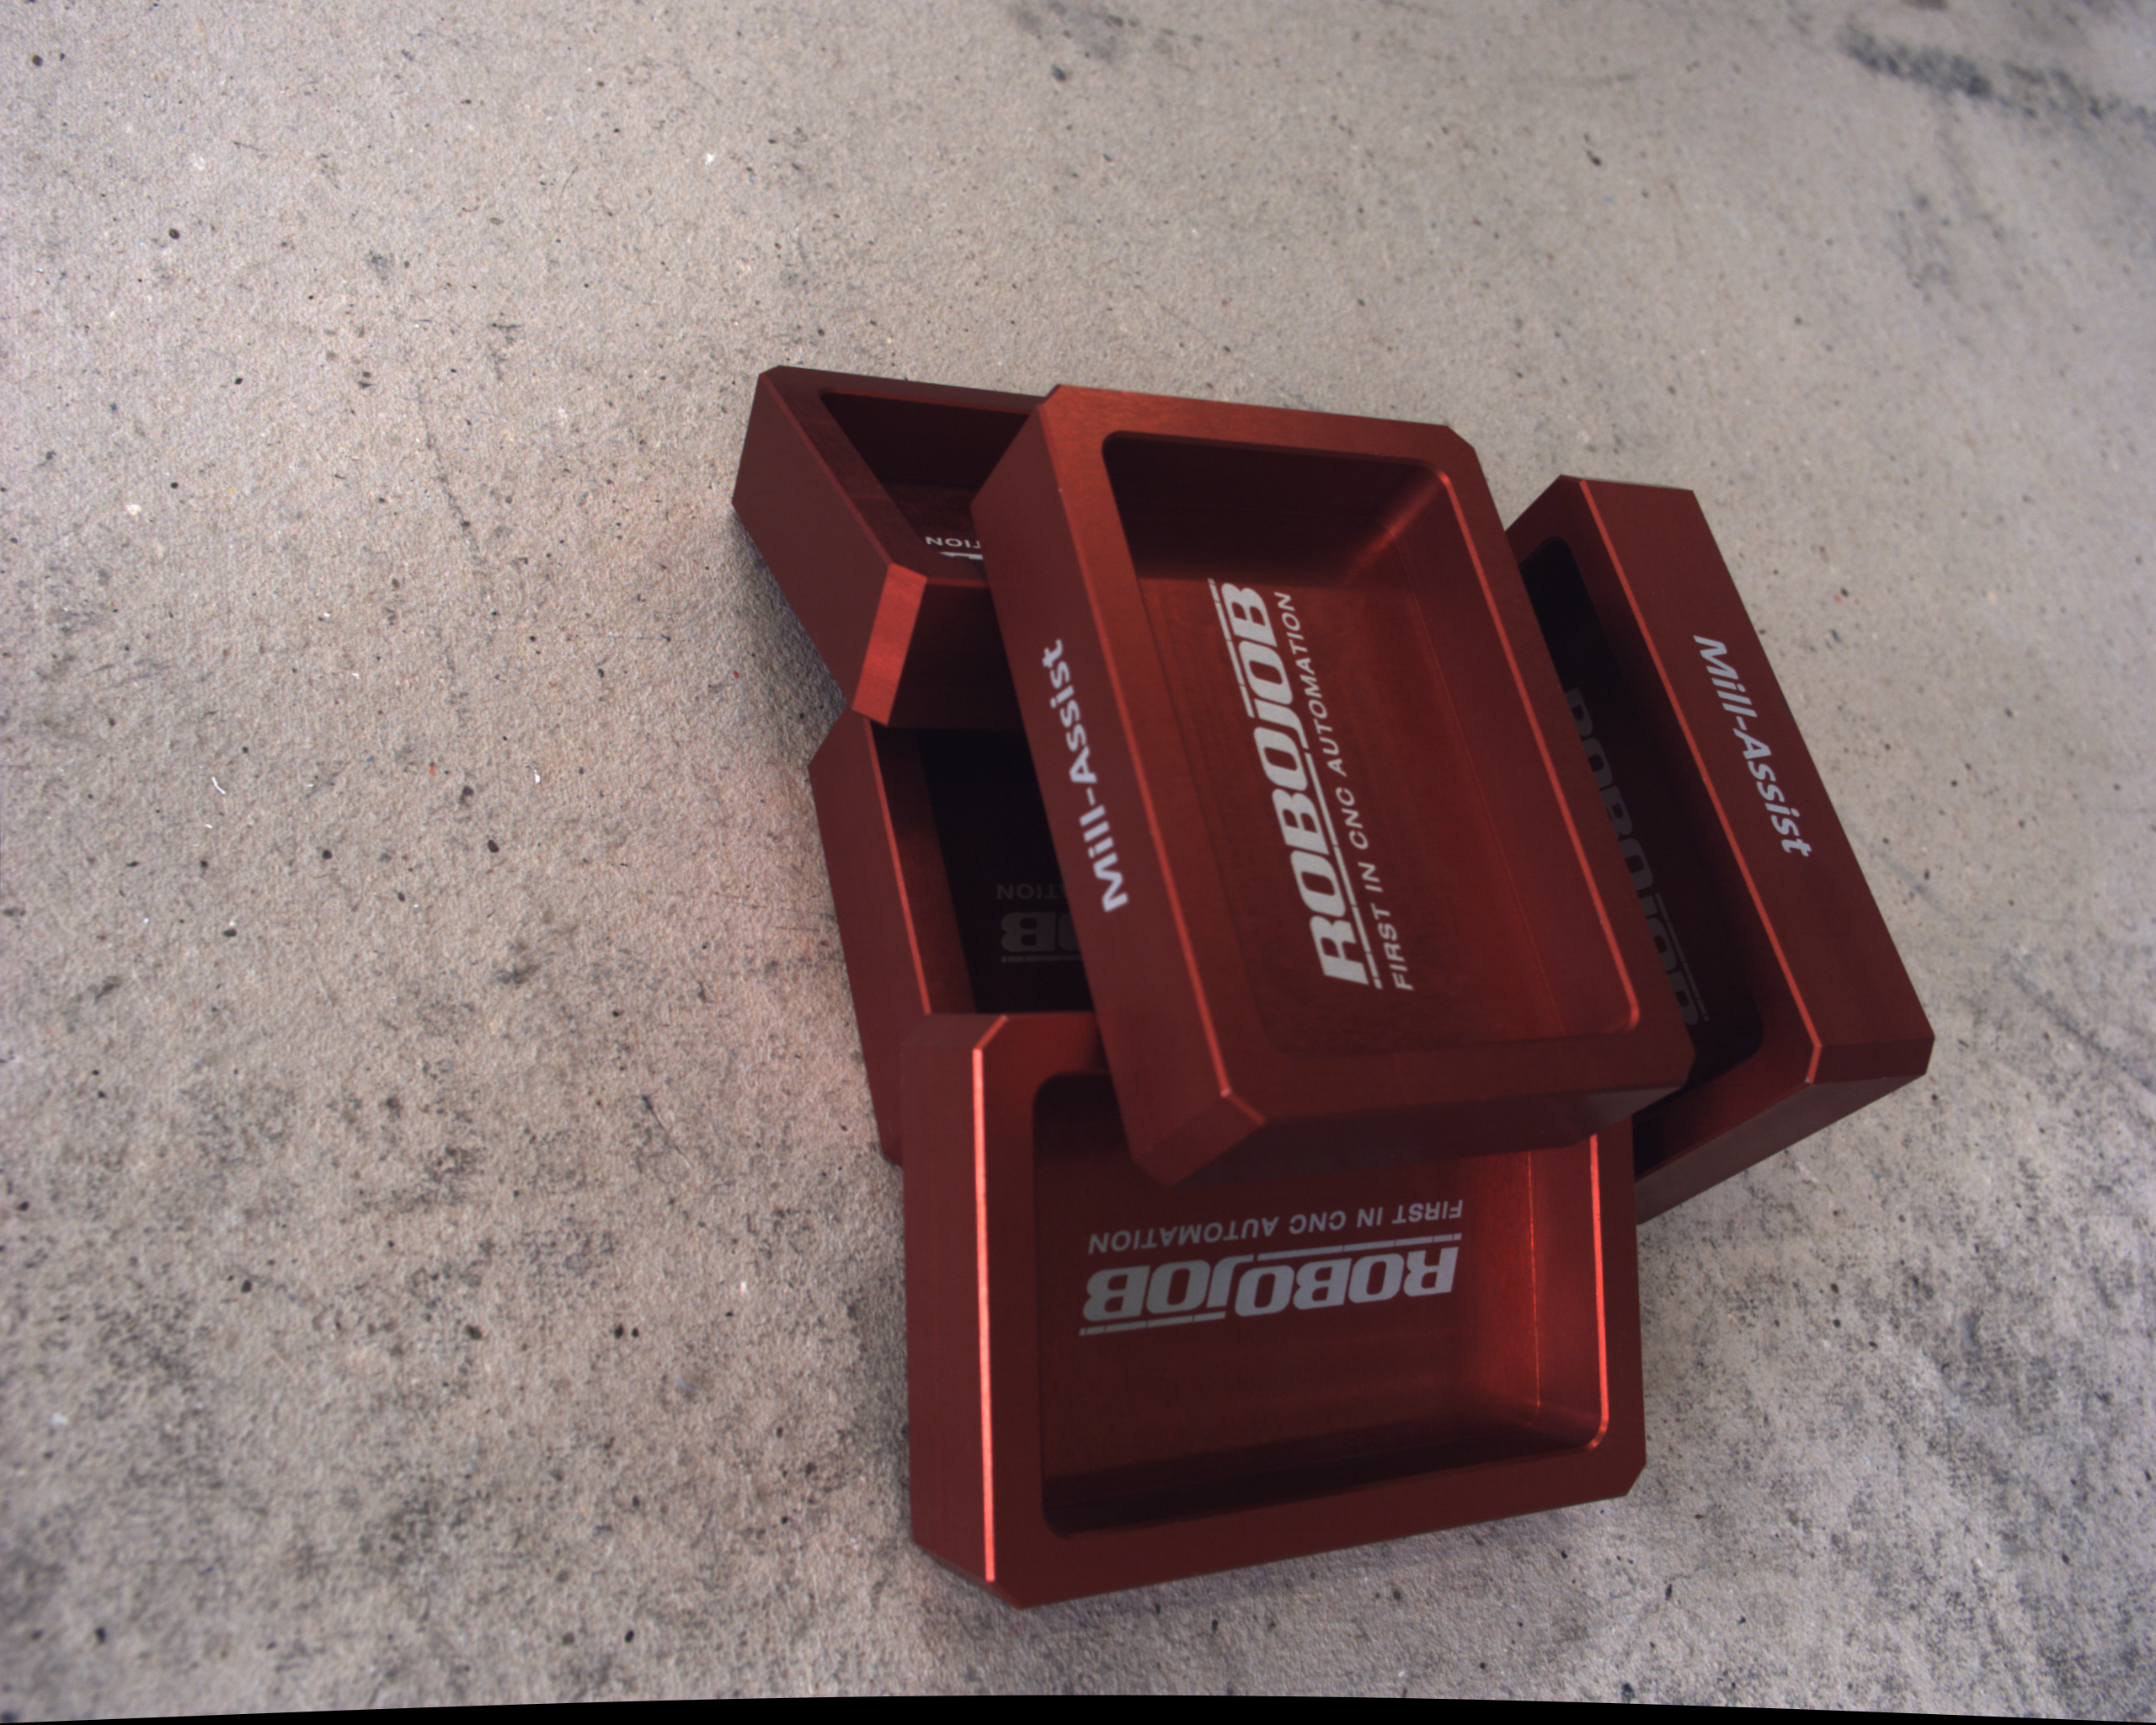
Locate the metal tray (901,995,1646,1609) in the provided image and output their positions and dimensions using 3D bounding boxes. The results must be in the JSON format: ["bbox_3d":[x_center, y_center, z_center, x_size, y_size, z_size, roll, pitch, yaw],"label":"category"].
[{"bbox_3d":[0.036,0.068,0.357,0.131,0.030,0.089,0,87,-28],"label":"metal tray"}]

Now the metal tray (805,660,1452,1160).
[{"bbox_3d":[0.020,0.008,0.405,0.131,0.030,0.090,-1,64,-29],"label":"metal tray"}]

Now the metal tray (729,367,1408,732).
[{"bbox_3d":[0.006,-0.061,0.420,0.131,0.030,0.090,0,35,-29],"label":"metal tray"}]

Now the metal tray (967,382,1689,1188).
[{"bbox_3d":[0.040,-0.016,0.349,0.091,0.030,0.130,-1,65,-28],"label":"metal tray"}]

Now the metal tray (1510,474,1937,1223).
[{"bbox_3d":[0.106,-0.001,0.420,0.030,0.090,0.130,-1,63,-29],"label":"metal tray"}]
